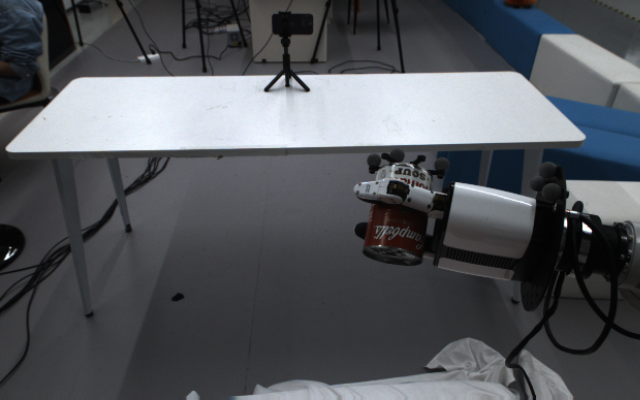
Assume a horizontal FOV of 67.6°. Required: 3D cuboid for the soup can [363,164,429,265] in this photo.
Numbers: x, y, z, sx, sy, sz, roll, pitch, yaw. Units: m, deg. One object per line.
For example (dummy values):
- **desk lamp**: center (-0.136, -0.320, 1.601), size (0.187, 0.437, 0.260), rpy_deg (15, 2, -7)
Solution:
- **soup can**: center (0.091, 0.017, 0.549), size (0.067, 0.067, 0.101), rpy_deg (9, 70, 10)
